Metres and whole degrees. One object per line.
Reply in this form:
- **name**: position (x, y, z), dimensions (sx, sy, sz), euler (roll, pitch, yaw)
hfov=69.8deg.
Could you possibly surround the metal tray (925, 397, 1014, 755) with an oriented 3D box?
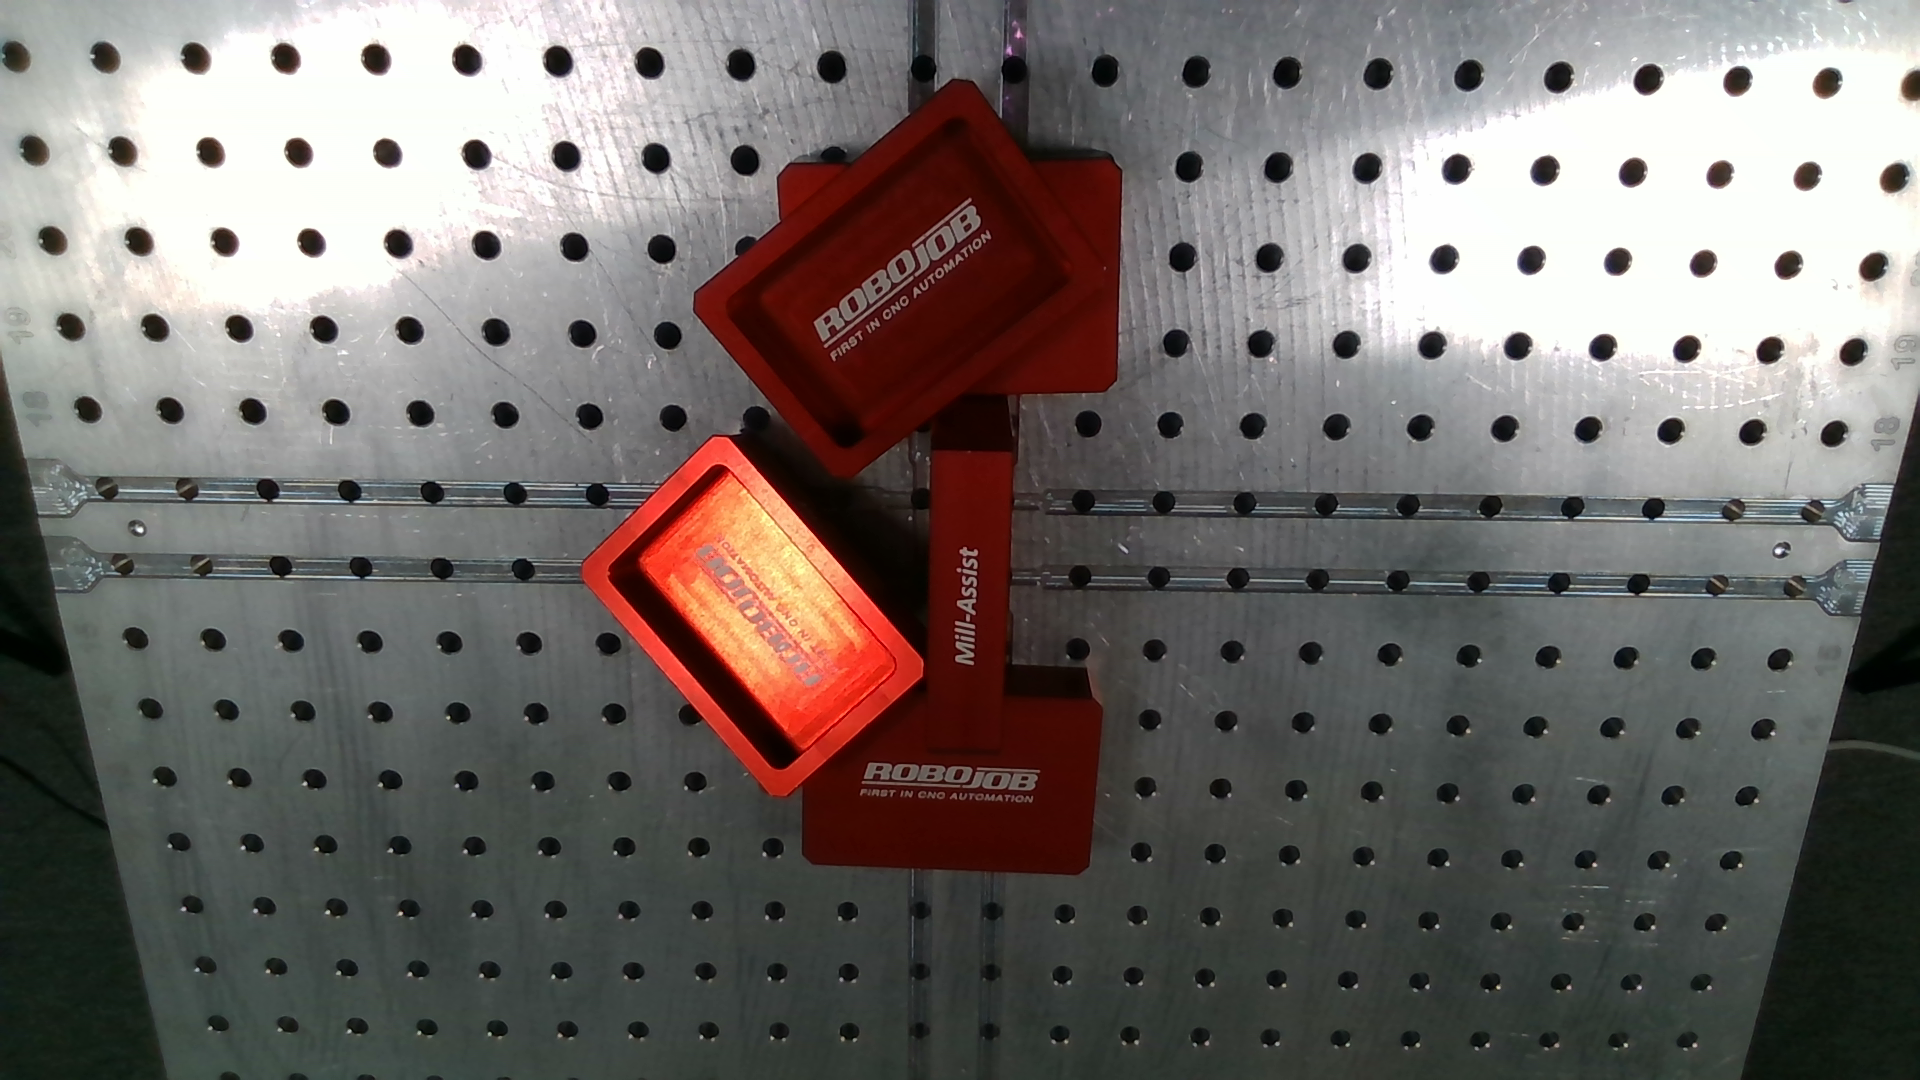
- **metal tray**: position (0.003, 0.010, 0.555), dimensions (0.030, 0.090, 0.130), euler (1, 110, 0)

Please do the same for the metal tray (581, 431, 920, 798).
- **metal tray**: position (-0.084, 0.030, 0.576), dimensions (0.090, 0.030, 0.130), euler (-42, 88, 14)

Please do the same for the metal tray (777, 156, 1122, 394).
- **metal tray**: position (-0.003, -0.105, 0.546), dimensions (0.130, 0.030, 0.090), euler (-1, 110, 1)

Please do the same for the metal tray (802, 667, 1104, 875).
- **metal tray**: position (-0.005, 0.102, 0.621), dimensions (0.130, 0.030, 0.090), euler (3, 110, -1)

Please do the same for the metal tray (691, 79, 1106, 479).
- **metal tray**: position (-0.023, -0.096, 0.515), dimensions (0.130, 0.030, 0.090), euler (-36, 107, 13)
